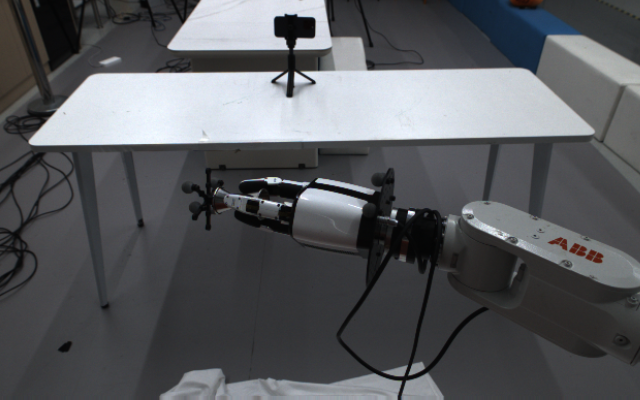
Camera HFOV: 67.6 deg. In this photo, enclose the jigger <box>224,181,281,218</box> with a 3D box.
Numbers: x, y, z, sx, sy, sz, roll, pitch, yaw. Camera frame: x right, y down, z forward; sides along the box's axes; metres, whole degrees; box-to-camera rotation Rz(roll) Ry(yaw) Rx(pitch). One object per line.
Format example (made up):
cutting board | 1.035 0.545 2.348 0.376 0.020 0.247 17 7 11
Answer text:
jigger | -0.102 -0.001 0.672 0.071 0.043 0.043 4 34 16
